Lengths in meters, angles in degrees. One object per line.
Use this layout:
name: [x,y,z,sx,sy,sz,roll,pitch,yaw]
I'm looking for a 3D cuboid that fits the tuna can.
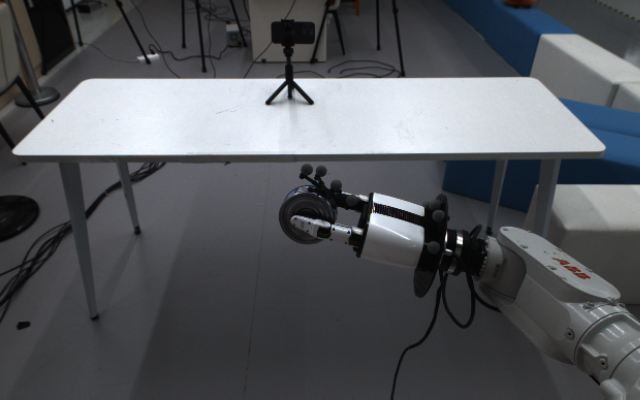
tuna can: [-0.017,0.022,0.726,0.085,0.085,0.034,6,19,6]
